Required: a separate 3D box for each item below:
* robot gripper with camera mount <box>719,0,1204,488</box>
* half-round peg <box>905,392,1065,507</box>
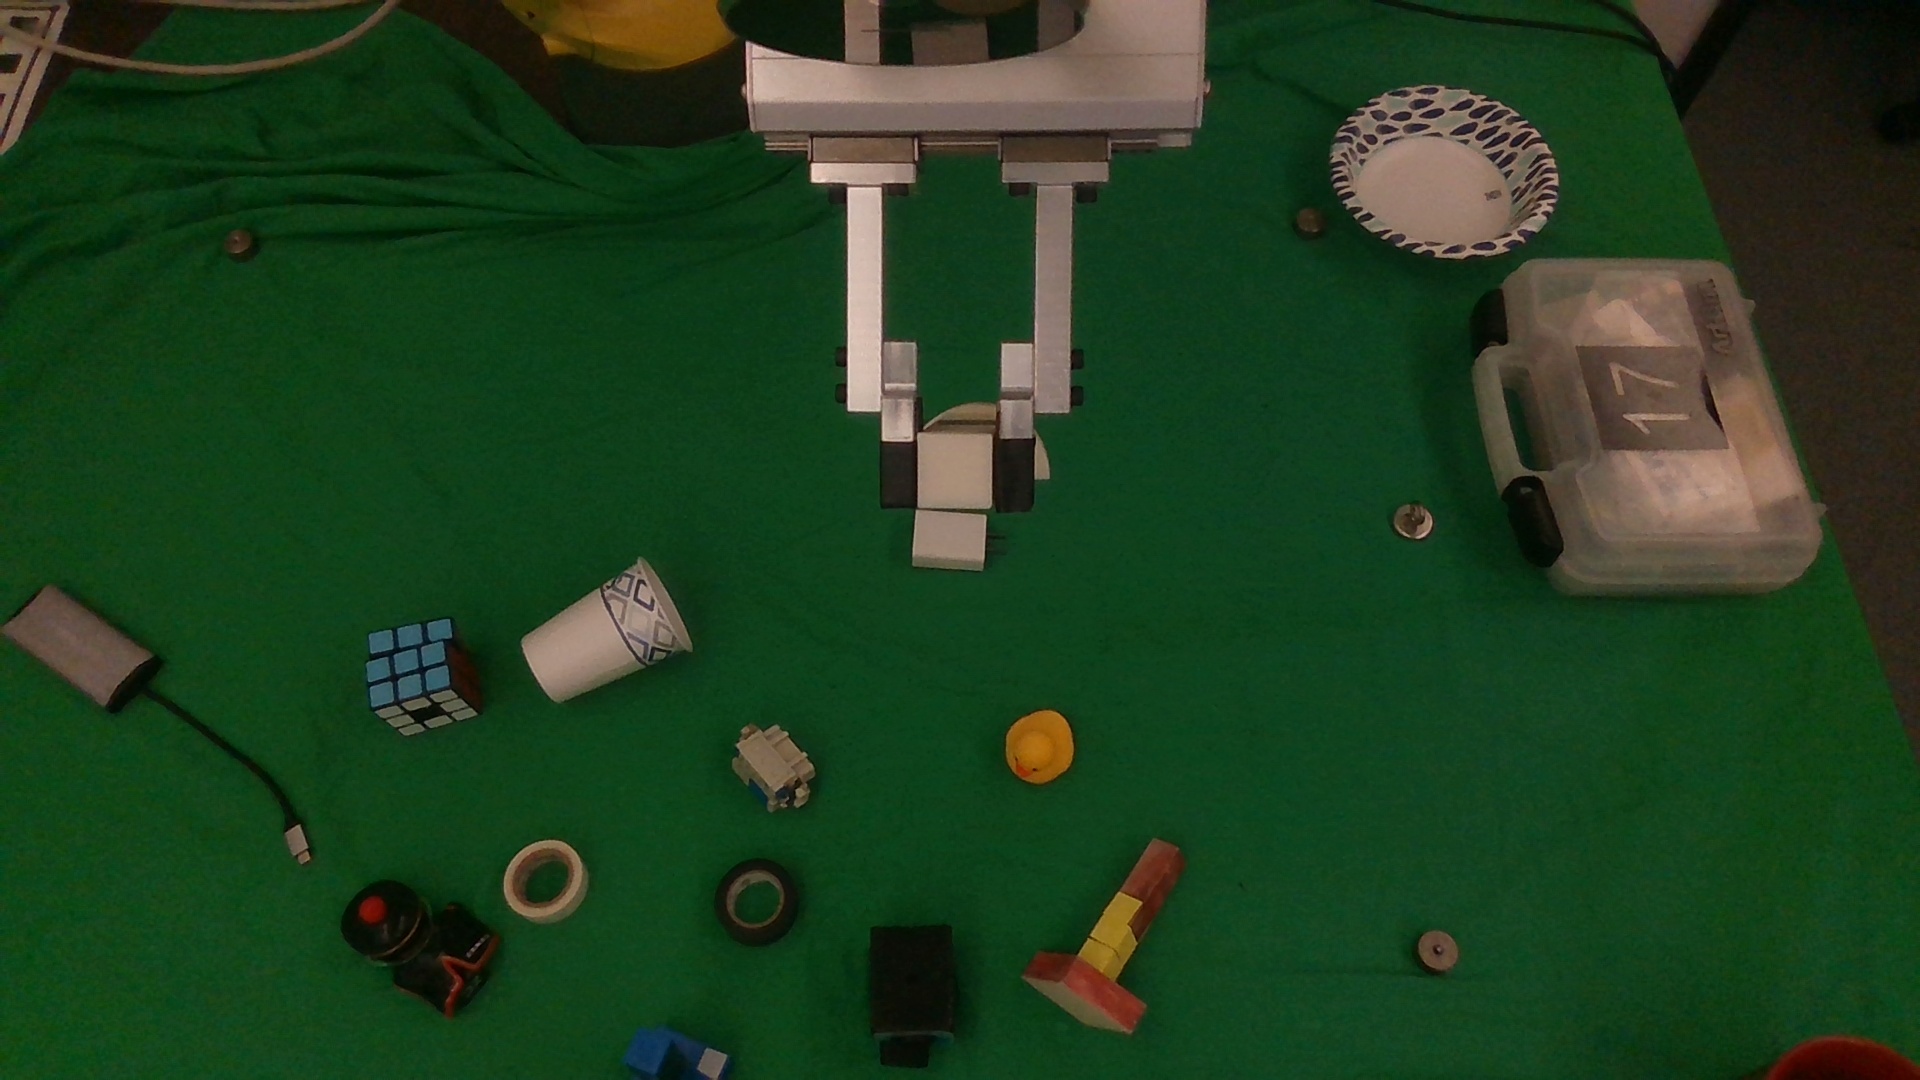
[{"bbox_3d":[-0.002,-0.083,0.278,0.119,0.193,0.158,0,97,2],"label":"robot gripper with camera mount"},{"bbox_3d":[0.004,-0.028,0.420,0.054,0.122,0.031,0,98,5],"label":"half-round peg"}]
